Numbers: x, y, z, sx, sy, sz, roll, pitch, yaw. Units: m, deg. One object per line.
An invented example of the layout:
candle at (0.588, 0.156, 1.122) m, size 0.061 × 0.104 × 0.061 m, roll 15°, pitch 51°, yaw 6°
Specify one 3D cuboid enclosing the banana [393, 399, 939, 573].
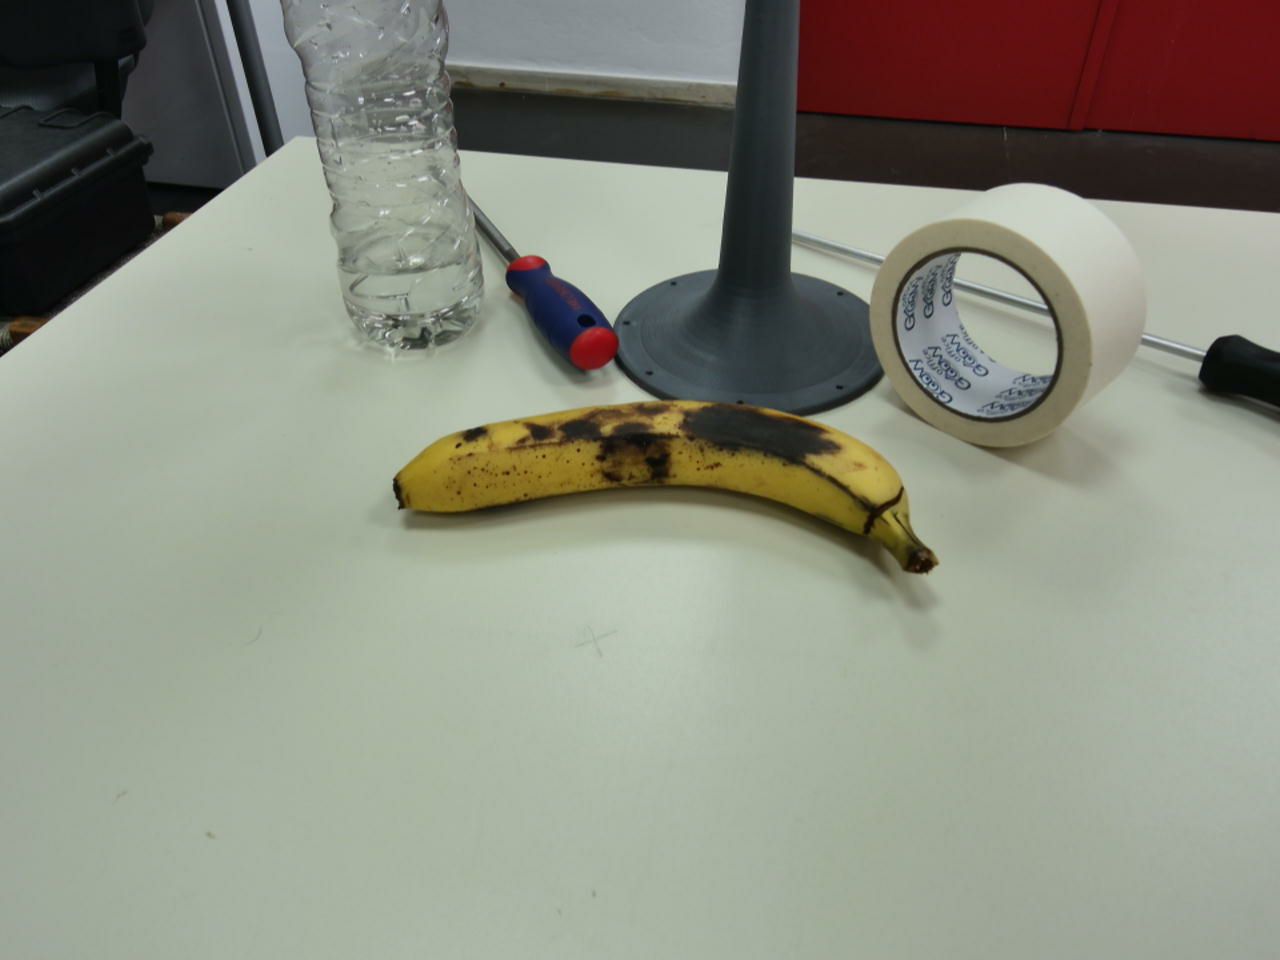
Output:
banana at (0.012, -0.005, 0.426) m, size 0.222 × 0.037 × 0.084 m, roll 8°, pitch 39°, yaw 11°
